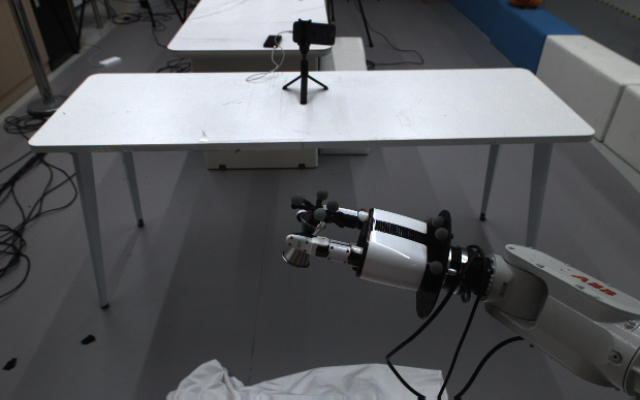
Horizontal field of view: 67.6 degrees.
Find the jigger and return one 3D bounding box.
[{"bbox_3d":[-0.023,0.057,0.696,0.043,0.071,0.043,23,19,-8],"label":"jigger"}]
